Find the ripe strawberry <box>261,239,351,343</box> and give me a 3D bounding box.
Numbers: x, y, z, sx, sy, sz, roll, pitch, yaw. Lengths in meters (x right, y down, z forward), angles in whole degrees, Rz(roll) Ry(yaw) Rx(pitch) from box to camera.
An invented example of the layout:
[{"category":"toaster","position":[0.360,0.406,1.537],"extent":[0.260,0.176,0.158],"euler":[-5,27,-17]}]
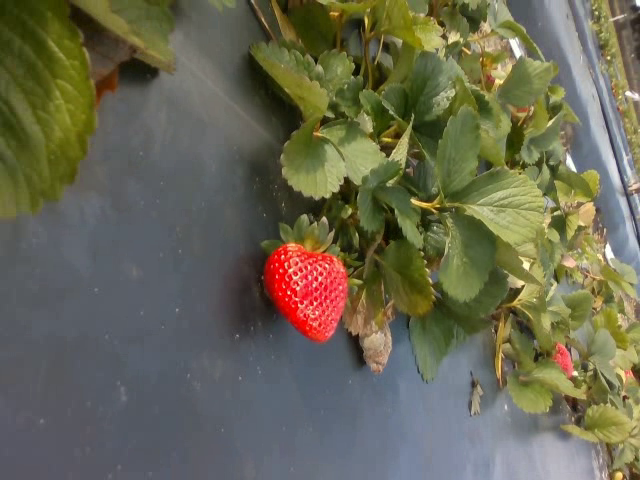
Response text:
[{"category":"ripe strawberry","position":[-0.005,0.026,0.264],"extent":[0.050,0.058,0.046],"euler":[-22,-43,14]}]
